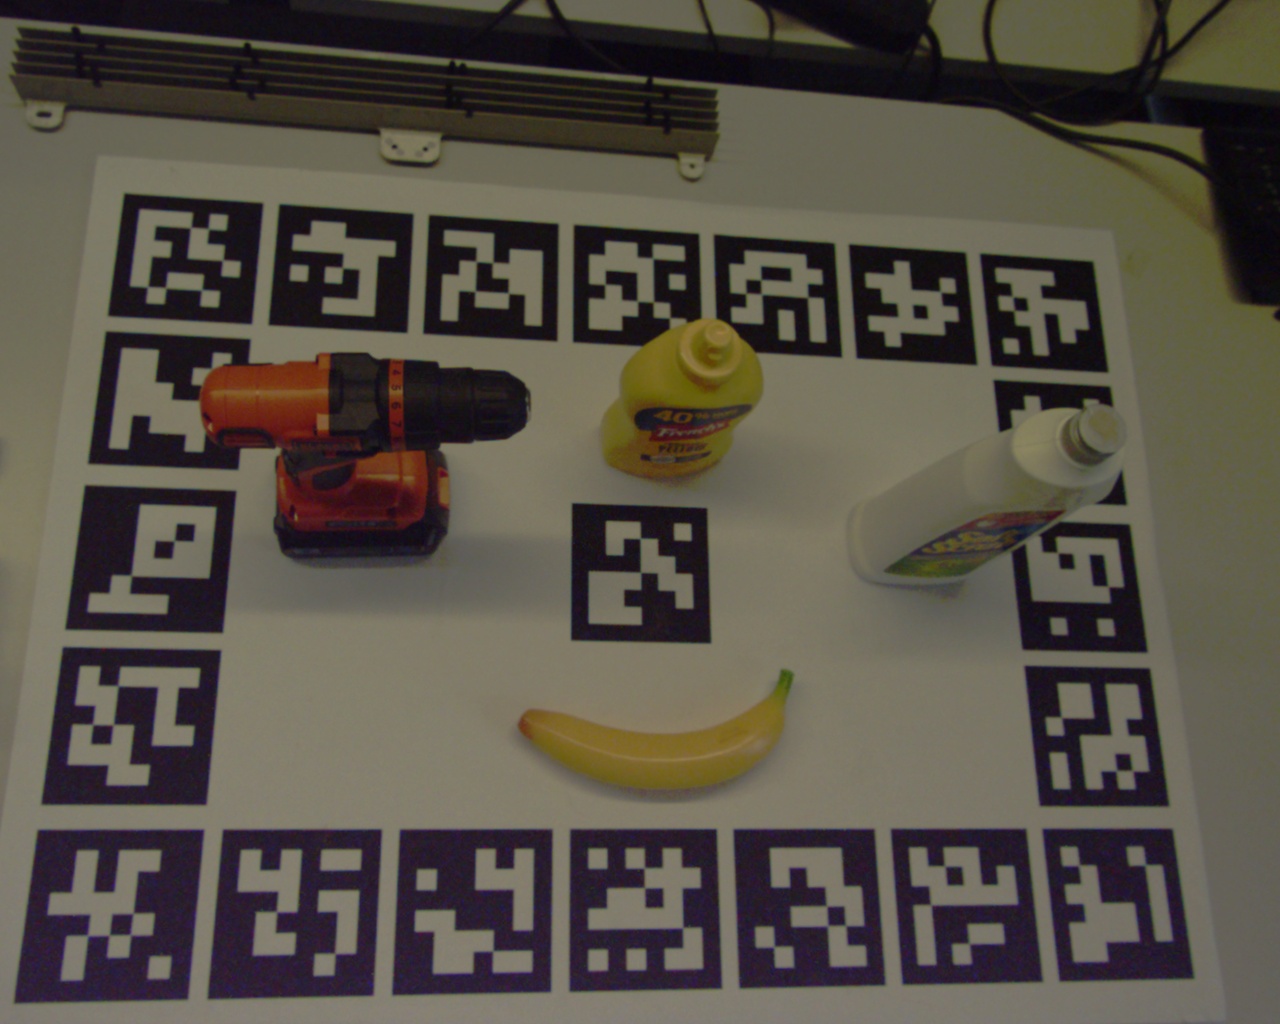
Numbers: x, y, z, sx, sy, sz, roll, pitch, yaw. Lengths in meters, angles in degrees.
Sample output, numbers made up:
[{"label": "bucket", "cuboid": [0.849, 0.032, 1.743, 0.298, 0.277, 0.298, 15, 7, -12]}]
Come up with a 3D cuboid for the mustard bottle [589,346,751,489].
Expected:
[{"label": "mustard bottle", "cuboid": [0.025, -0.069, 0.801, 0.095, 0.192, 0.058, -5, 76, -13]}]

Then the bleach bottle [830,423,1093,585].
[{"label": "bleach bottle", "cuboid": [0.219, -0.008, 0.780, 0.102, 0.251, 0.068, 11, 73, -7]}]

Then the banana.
[{"label": "banana", "cuboid": [0.012, 0.154, 0.805, 0.197, 0.039, 0.074, -3, 77, -7]}]

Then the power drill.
[{"label": "power drill", "cuboid": [-0.155, -0.039, 0.732, 0.184, 0.187, 0.057, -4, 76, -7]}]
